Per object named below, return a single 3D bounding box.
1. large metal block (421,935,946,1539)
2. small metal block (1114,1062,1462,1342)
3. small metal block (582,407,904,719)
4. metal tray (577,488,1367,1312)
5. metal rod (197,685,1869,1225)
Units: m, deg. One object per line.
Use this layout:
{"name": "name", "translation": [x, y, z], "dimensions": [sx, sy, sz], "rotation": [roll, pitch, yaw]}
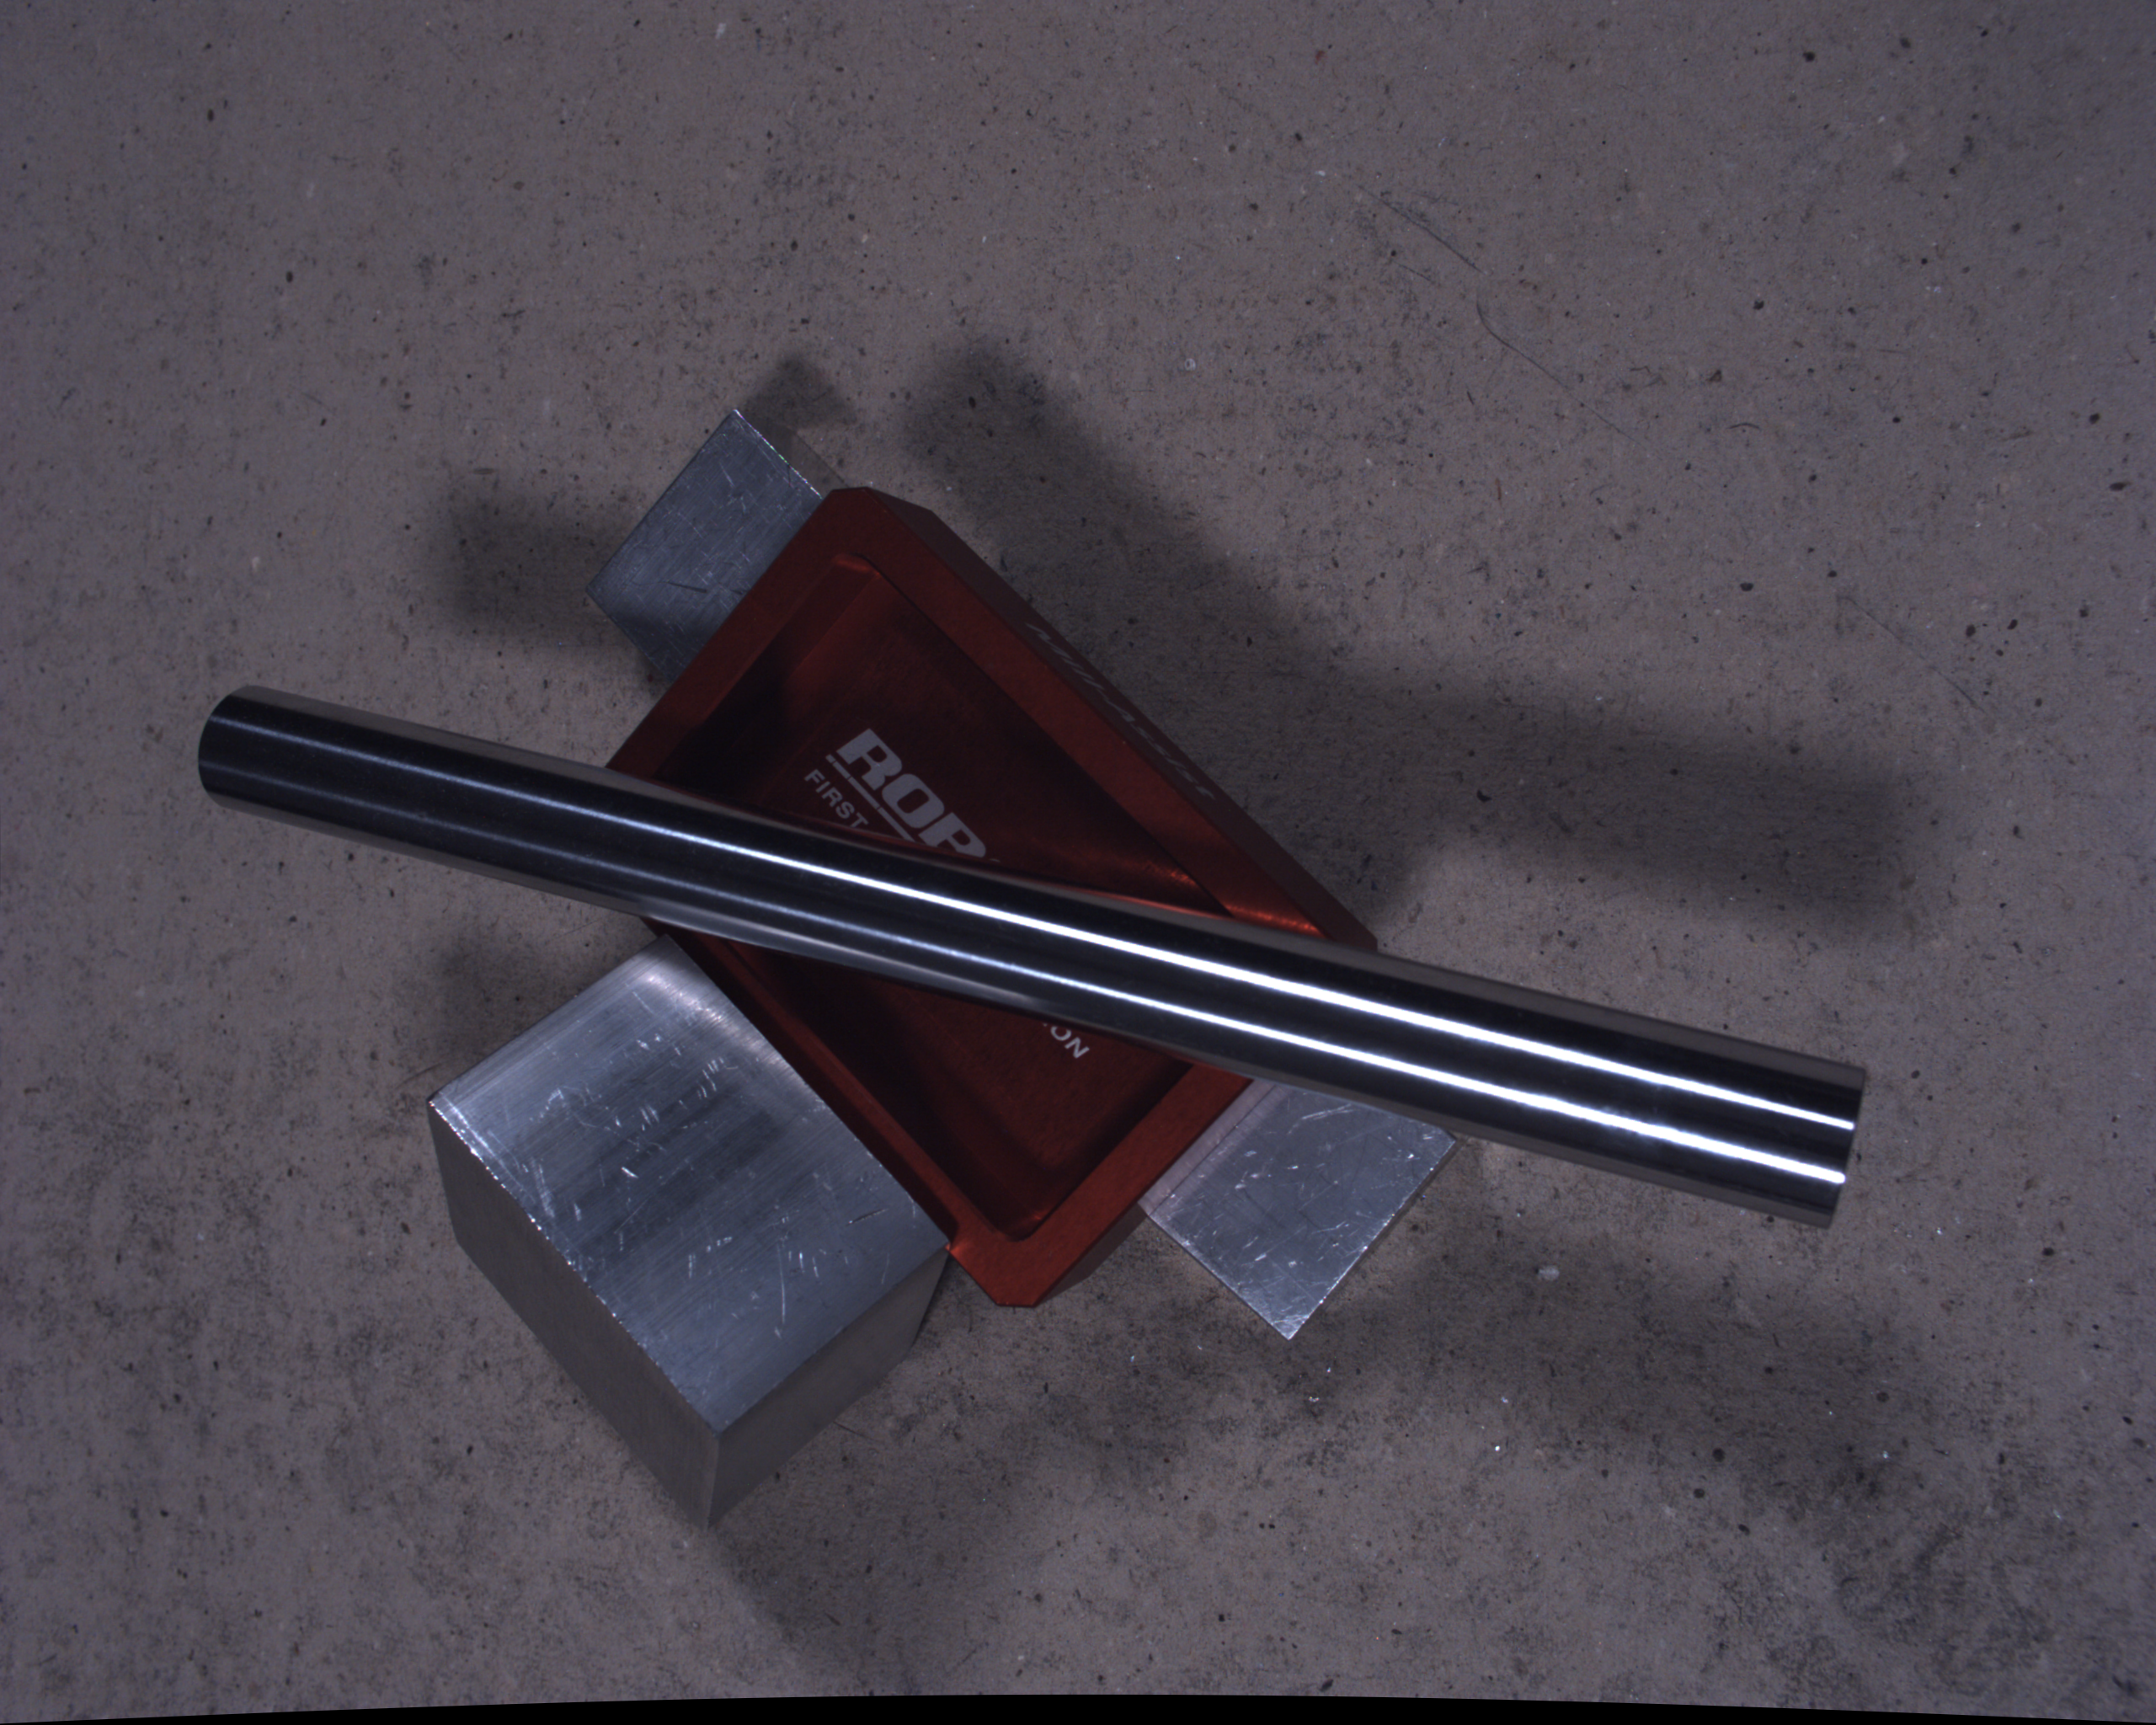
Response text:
{"name": "large metal block", "translation": [-0.076, 0.073, 0.397], "dimensions": [0.050, 0.080, 0.080], "rotation": [-38, 74, -27]}
{"name": "small metal block", "translation": [0.039, 0.053, 0.396], "dimensions": [0.050, 0.025, 0.050], "rotation": [40, 102, 15]}
{"name": "small metal block", "translation": [-0.065, -0.057, 0.432], "dimensions": [0.050, 0.025, 0.050], "rotation": [46, 104, 14]}
{"name": "metal tray", "translation": [-0.021, 0.006, 0.387], "dimensions": [0.130, 0.030, 0.090], "rotation": [45, 104, 14]}
{"name": "metal rod", "translation": [-0.024, 0.010, 0.359], "dimensions": [0.301, 0.025, 0.025], "rotation": [13, 94, 19]}
